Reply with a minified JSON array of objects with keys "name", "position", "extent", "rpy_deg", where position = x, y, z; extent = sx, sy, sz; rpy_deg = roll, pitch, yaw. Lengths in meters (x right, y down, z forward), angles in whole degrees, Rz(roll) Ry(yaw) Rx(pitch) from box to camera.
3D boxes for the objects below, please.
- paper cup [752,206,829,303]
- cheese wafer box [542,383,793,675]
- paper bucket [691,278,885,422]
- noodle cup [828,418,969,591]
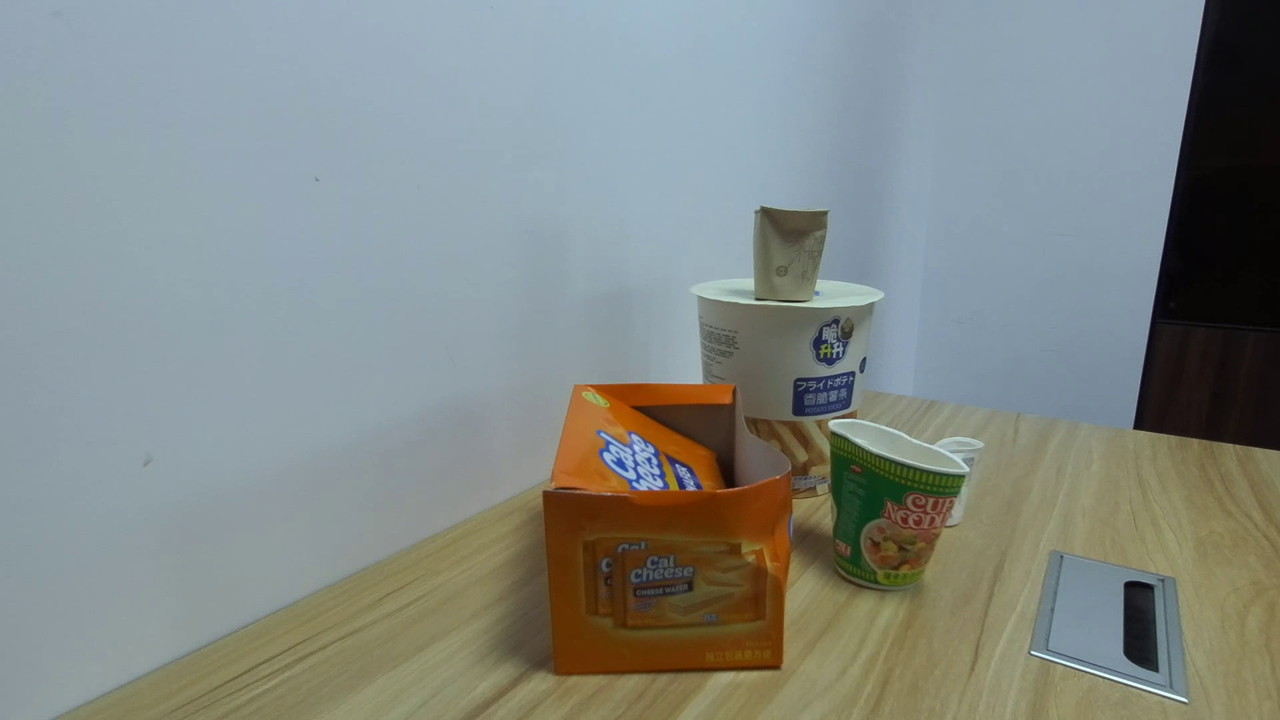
[{"name":"paper cup","position":[0.136,-0.097,0.648],"extent":[0.066,0.084,0.071],"rpy_deg":[1,9,3]},{"name":"cheese wafer box","position":[0.017,0.109,0.518],"extent":[0.152,0.132,0.230],"rpy_deg":[1,13,-1]},{"name":"paper bucket","position":[0.141,0.024,0.717],"extent":[0.198,0.194,0.198],"rpy_deg":[0,14,0]},{"name":"noodle cup","position":[0.184,0.108,0.535],"extent":[0.070,0.111,0.115],"rpy_deg":[-3,15,-4]}]
